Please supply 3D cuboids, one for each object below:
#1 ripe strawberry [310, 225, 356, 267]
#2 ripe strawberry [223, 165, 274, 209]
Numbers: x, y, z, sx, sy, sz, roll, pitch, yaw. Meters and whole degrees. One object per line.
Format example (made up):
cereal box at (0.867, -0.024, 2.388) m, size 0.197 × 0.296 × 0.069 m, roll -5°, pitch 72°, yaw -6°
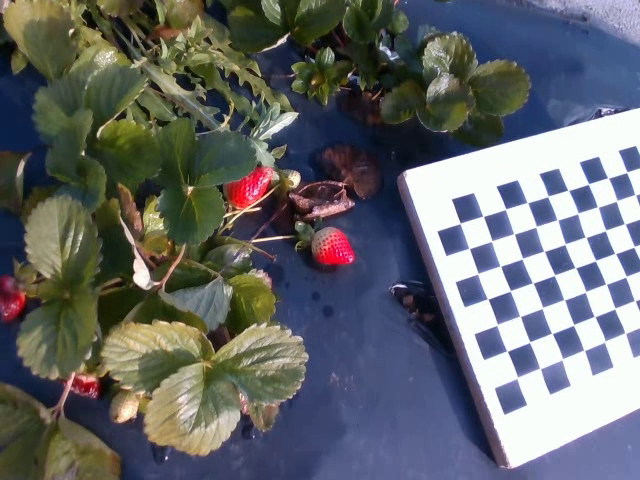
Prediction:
ripe strawberry at (0.012, 0.008, 0.529) m, size 0.043 × 0.035 × 0.030 m, roll 35°, pitch -20°, yaw -1°
ripe strawberry at (-0.059, -0.048, 0.520) m, size 0.048 × 0.040 × 0.031 m, roll -34°, pitch -4°, yaw 22°
